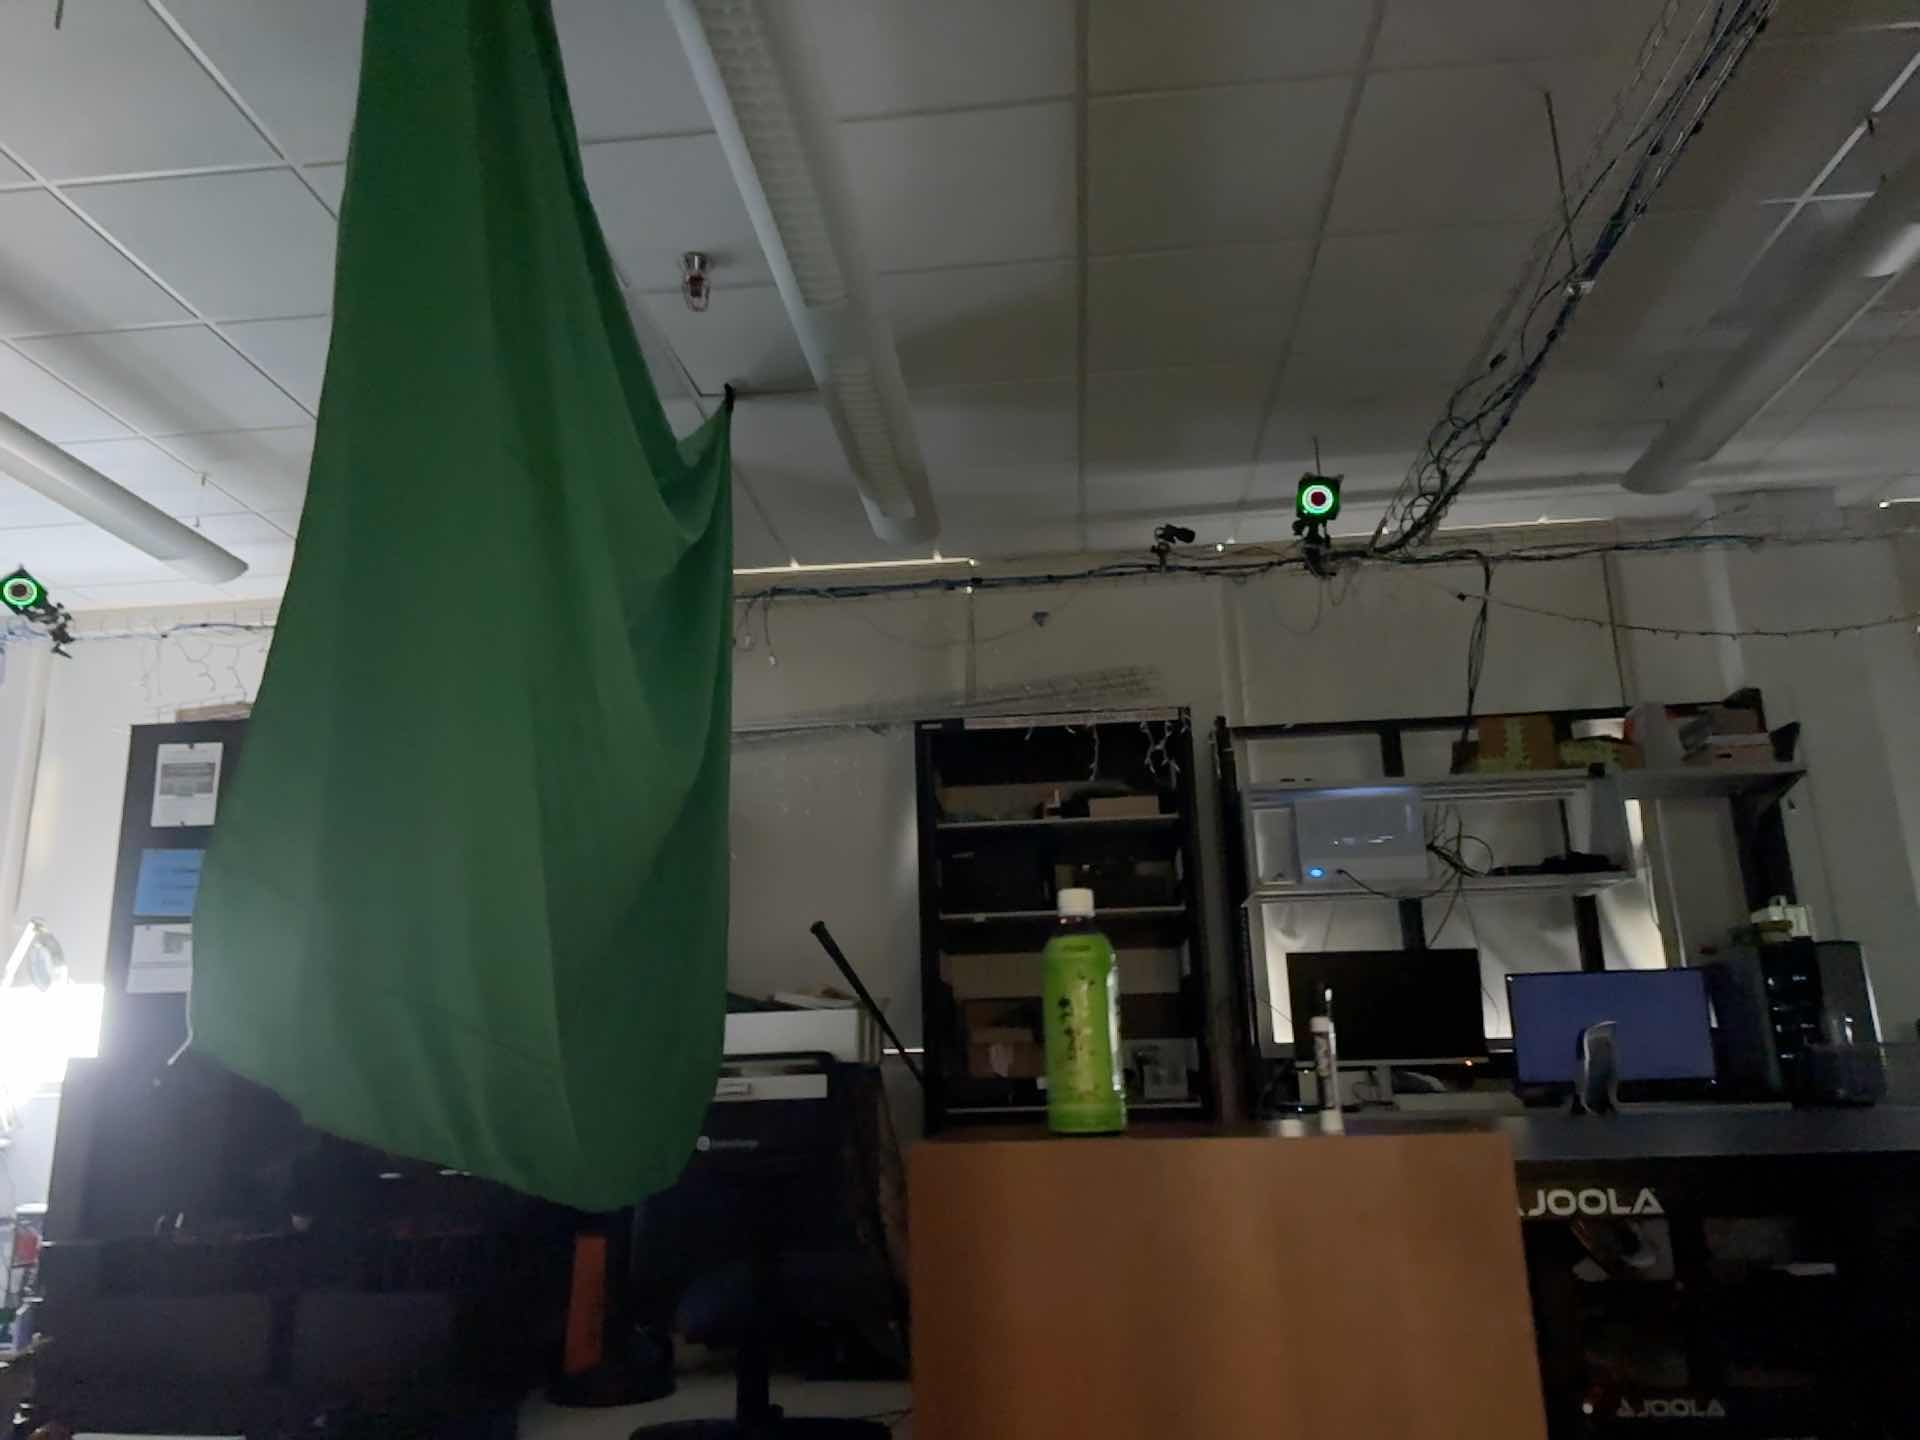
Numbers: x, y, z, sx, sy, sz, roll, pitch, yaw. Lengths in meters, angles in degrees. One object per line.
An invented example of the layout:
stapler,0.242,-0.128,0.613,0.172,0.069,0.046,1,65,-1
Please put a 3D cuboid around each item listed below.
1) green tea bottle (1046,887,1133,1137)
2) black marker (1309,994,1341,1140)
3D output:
green tea bottle,0.109,0.253,1.175,0.073,0.212,0.073,-3,-16,-1
black marker,0.314,0.298,1.157,0.020,0.121,0.020,0,-14,0
